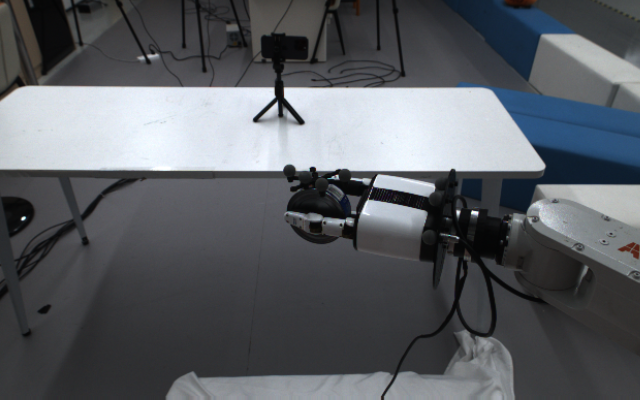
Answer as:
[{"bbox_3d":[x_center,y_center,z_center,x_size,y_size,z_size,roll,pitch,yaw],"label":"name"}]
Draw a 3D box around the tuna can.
[{"bbox_3d":[0.000,0.015,0.674,0.085,0.085,0.034,14,29,16],"label":"tuna can"}]
